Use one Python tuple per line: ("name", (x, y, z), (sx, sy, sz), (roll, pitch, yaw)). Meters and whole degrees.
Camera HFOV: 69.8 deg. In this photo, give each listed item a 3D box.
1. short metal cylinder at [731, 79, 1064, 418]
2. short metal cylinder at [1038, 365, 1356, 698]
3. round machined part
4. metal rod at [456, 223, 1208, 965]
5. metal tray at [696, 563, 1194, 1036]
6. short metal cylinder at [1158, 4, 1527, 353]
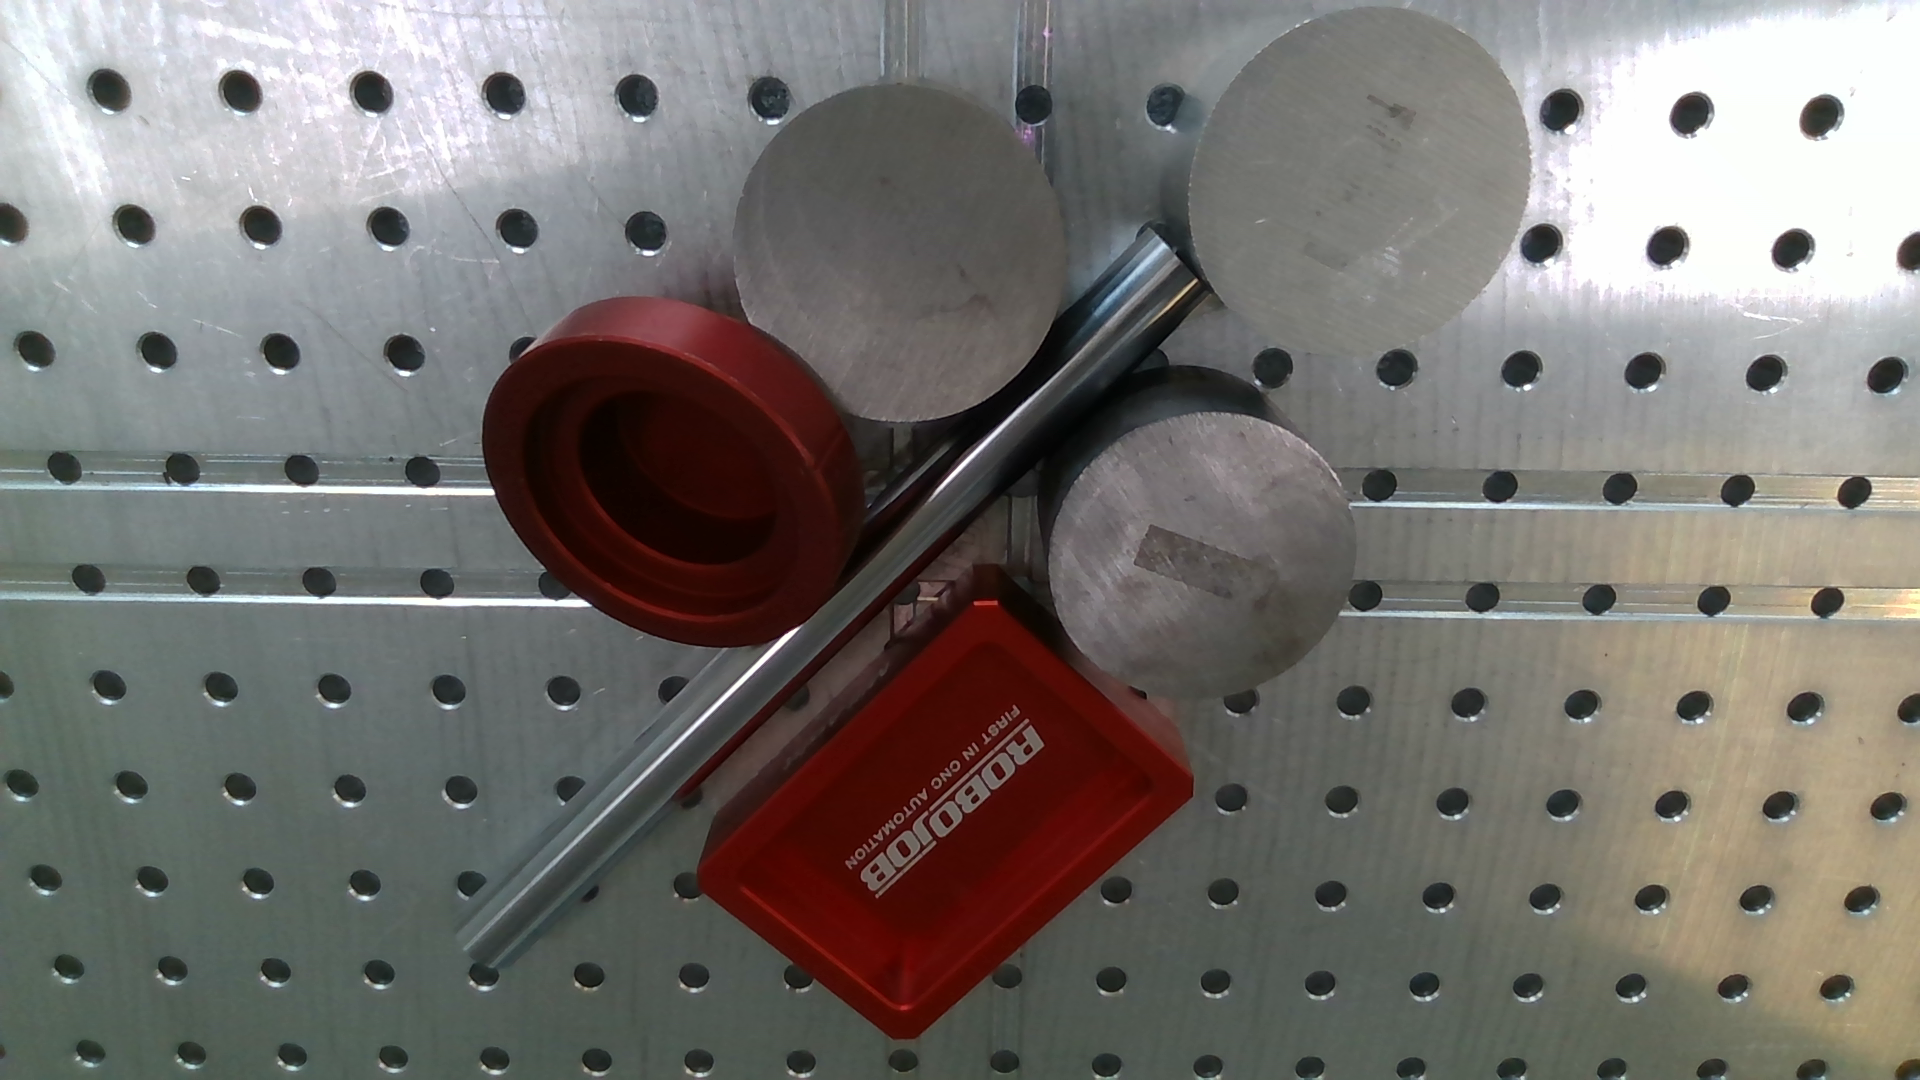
("short metal cylinder", (-0.015, -0.077, 0.354), (0.080, 0.050, 0.080), (0, 110, 0))
("short metal cylinder", (0.063, -0.003, 0.381), (0.080, 0.050, 0.080), (0, 110, 0))
("round machined part", (-0.072, -0.023, 0.367), (0.098, 0.042, 0.098), (9, 130, 11))
("metal rod", (-0.046, 0.025, 0.406), (0.025, 0.025, 0.300), (43, 105, -14))
("metal tray", (-0.005, 0.082, 0.423), (0.090, 0.030, 0.130), (42, 105, -13))
("short metal cylinder", (0.094, -0.092, 0.349), (0.080, 0.050, 0.080), (0, 110, 0))
